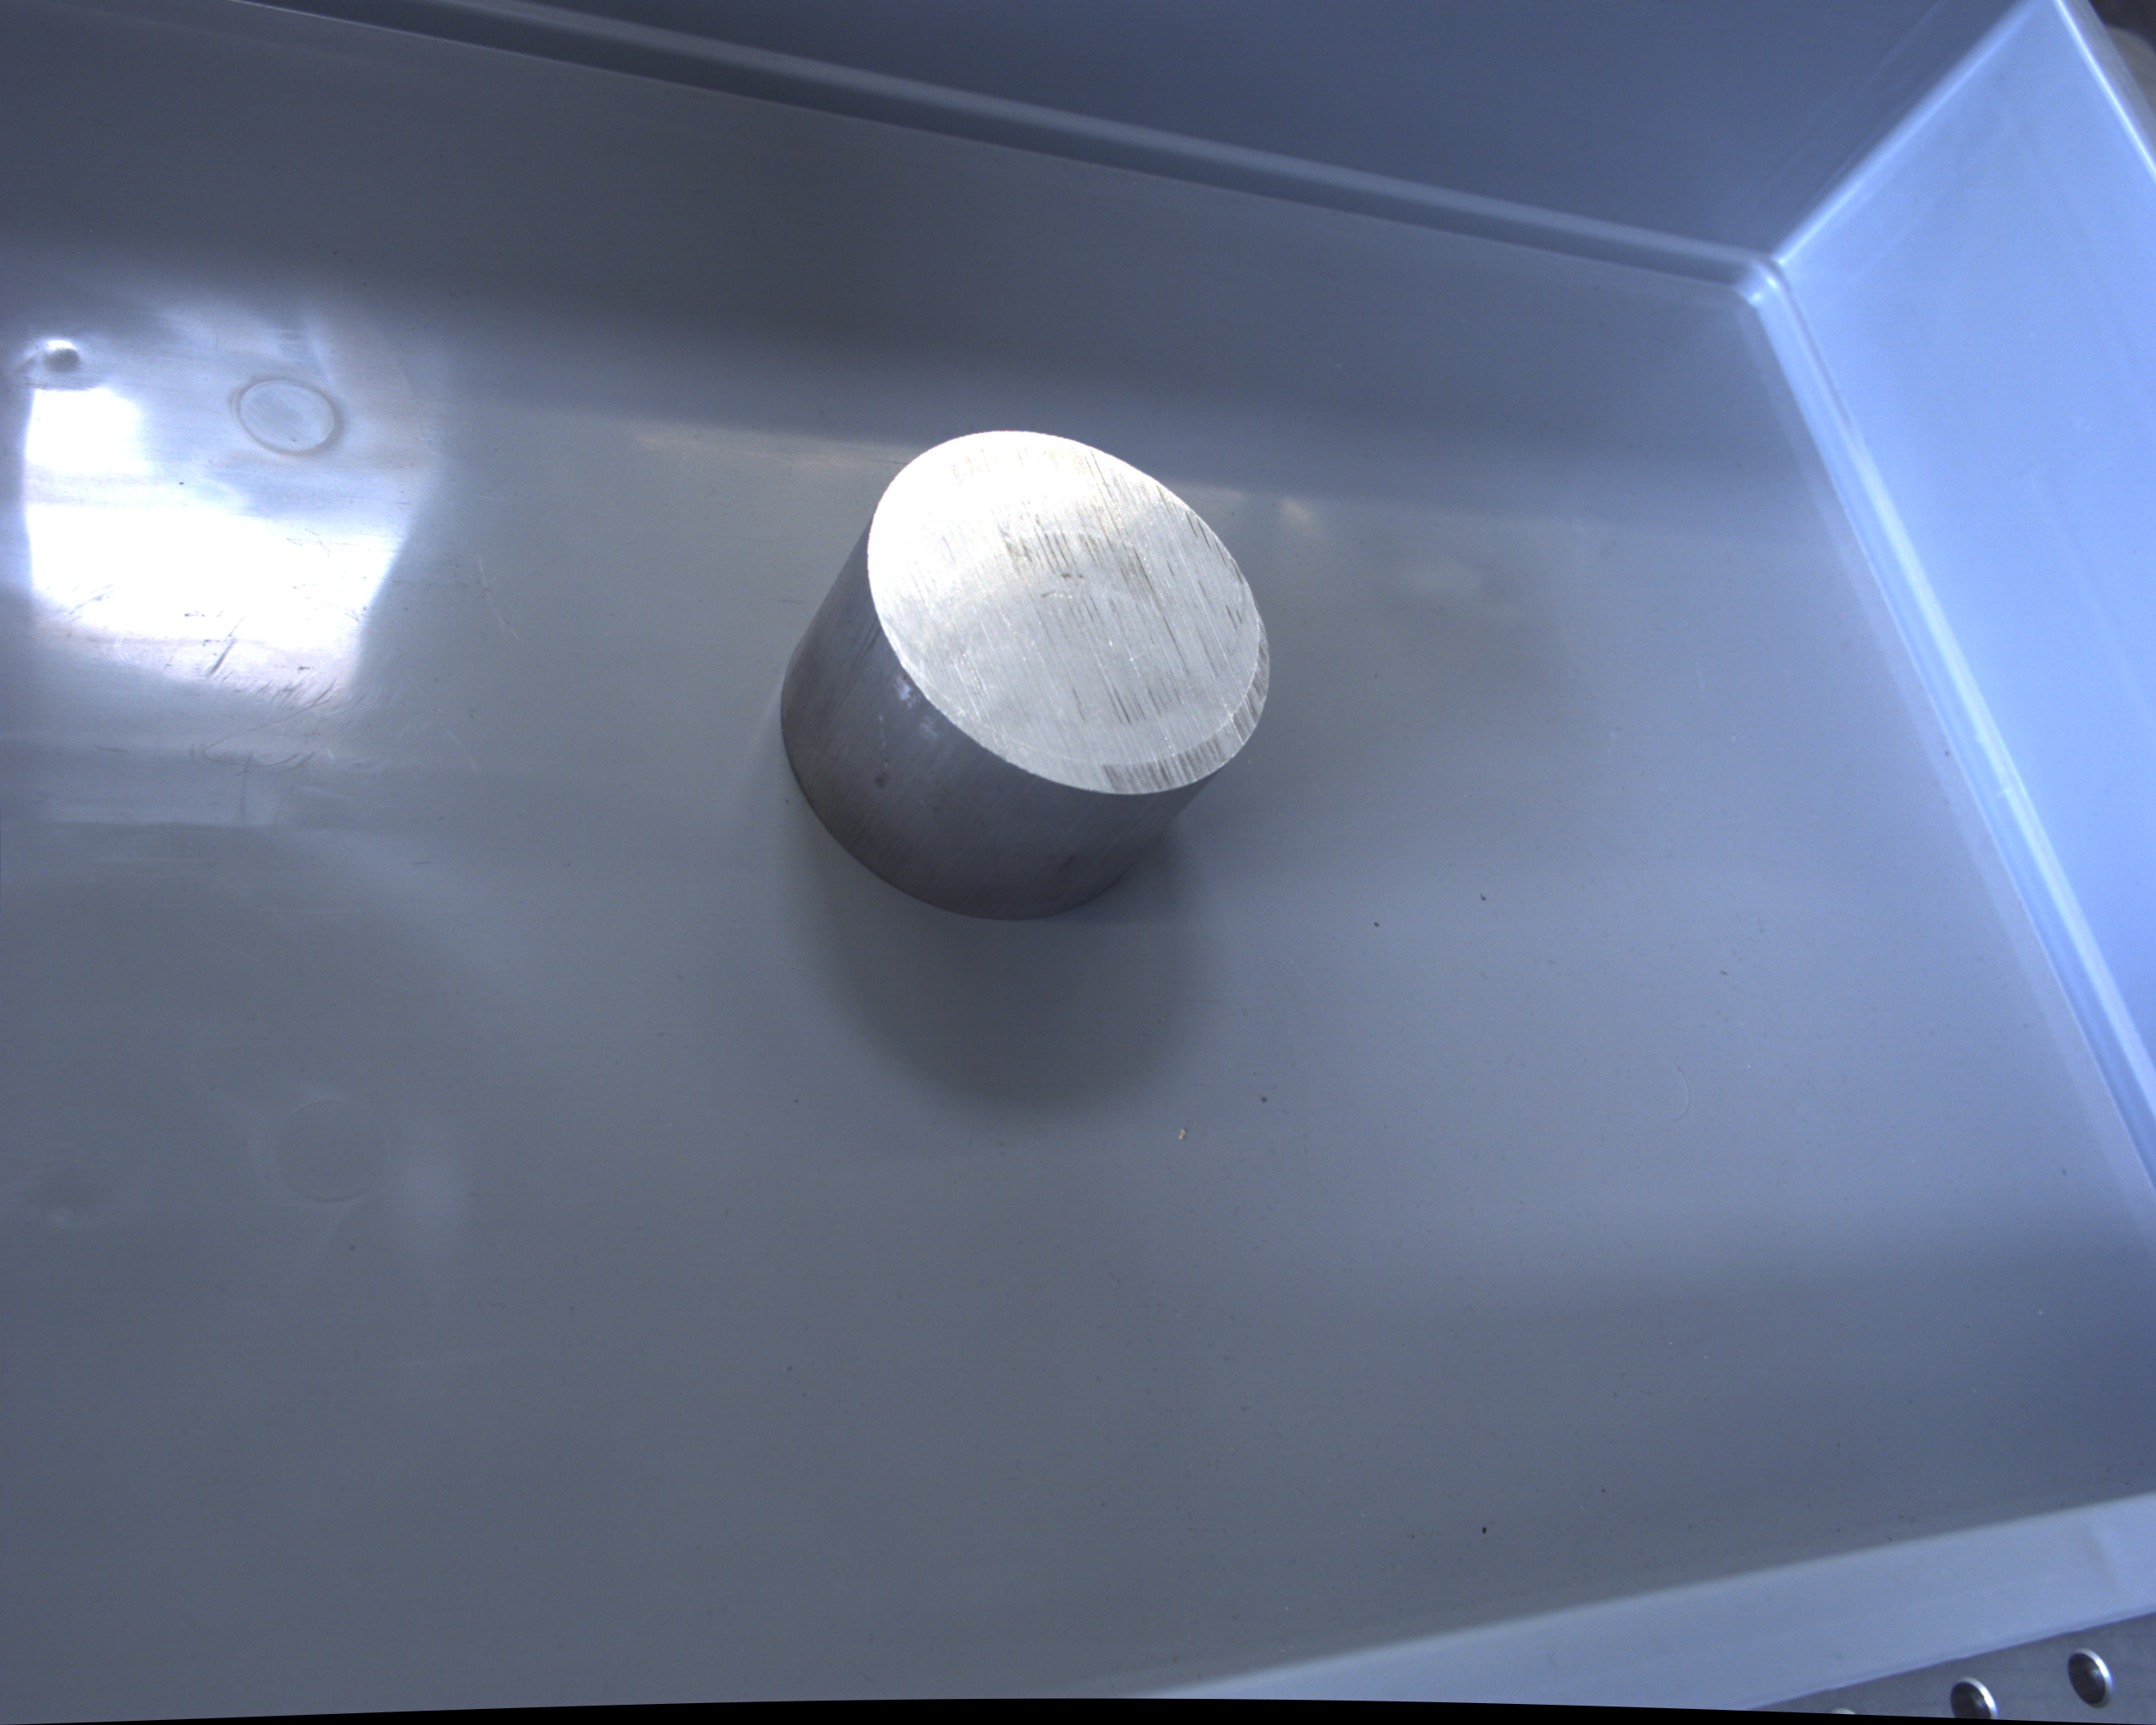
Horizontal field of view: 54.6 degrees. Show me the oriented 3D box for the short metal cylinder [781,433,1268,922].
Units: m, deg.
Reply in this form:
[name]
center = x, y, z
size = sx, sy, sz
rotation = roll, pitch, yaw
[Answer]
[short metal cylinder]
center = -0.011, -0.035, 0.402
size = 0.081, 0.050, 0.080
rotation = 13, 56, -21
